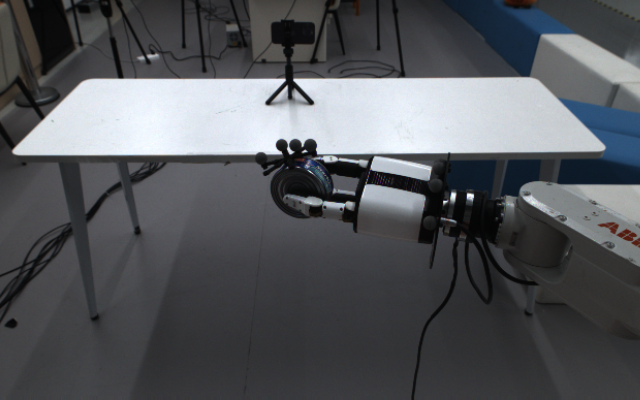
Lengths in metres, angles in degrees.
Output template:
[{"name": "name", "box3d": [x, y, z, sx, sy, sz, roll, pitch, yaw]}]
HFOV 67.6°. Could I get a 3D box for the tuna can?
[{"name": "tuna can", "box3d": [-0.023, -0.011, 0.684, 0.085, 0.085, 0.034, 11, 34, 13]}]
